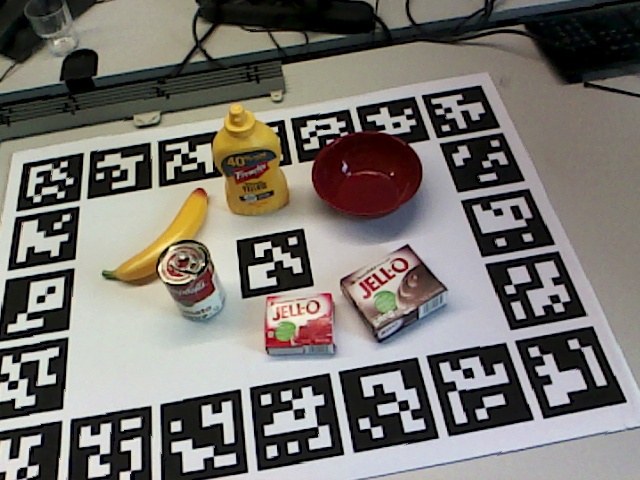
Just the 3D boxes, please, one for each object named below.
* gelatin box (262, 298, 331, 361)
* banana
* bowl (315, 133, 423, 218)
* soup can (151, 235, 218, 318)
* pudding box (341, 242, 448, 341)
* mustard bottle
[{"bbox_3d":[-0.031,0.118,0.815,0.089,0.030,0.073,-5,58,4],"label":"gelatin box"},{"bbox_3d":[-0.233,-0.008,0.922,0.075,0.038,0.197,20,59,31],"label":"banana"},{"bbox_3d":[0.074,-0.087,0.936,0.162,0.055,0.162,-4,54,5],"label":"bowl"},{"bbox_3d":[-0.178,0.051,0.824,0.068,0.101,0.068,-2,53,2],"label":"soup can"},{"bbox_3d":[0.098,0.068,0.830,0.113,0.038,0.090,-30,63,-15],"label":"pudding box"},{"bbox_3d":[-0.103,-0.118,0.877,0.096,0.191,0.058,-10,52,-1],"label":"mustard bottle"}]
